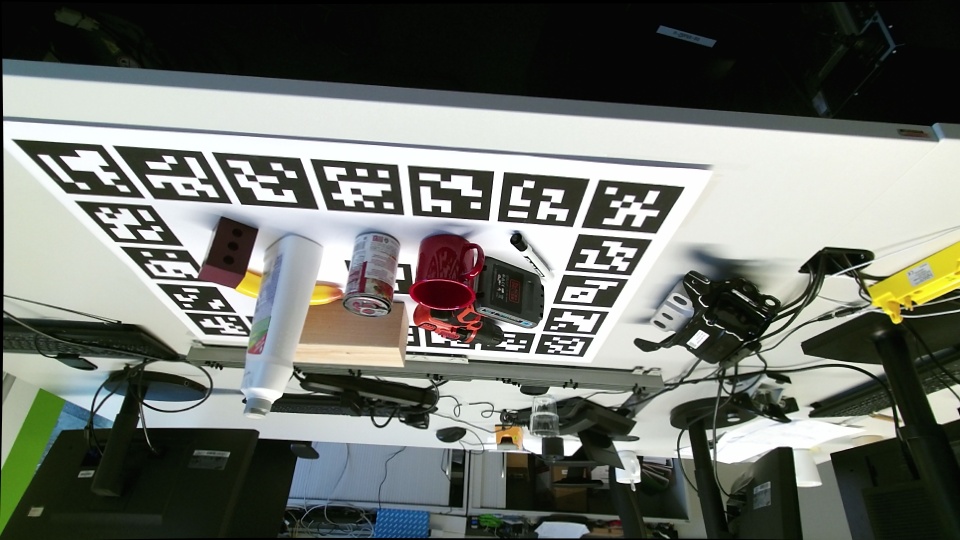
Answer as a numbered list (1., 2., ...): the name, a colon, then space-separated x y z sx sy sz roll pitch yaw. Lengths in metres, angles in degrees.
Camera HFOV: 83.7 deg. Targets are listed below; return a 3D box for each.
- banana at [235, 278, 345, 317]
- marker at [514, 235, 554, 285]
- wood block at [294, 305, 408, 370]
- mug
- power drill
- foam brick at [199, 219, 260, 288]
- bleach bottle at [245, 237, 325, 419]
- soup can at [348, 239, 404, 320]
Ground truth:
1. banana: -0.314 0.046 0.886 0.198 0.038 0.074 14 133 -13
2. marker: 0.079 -0.014 0.783 0.020 0.019 0.121 -15 143 22
3. wood block: -0.239 0.117 0.952 0.207 0.090 0.090 3 147 -1
4. mug: -0.038 0.009 0.765 0.117 0.081 0.093 -27 135 35
5. power drill: 0.002 0.073 0.900 0.185 0.057 0.187 23 144 -24
6. foam brick: -0.350 -0.022 0.750 0.053 0.077 0.051 22 146 -31
7. bleach bottle: -0.277 0.081 0.745 0.068 0.249 0.103 20 145 -27
8. soup can: -0.148 0.016 0.758 0.068 0.101 0.068 4 152 2
